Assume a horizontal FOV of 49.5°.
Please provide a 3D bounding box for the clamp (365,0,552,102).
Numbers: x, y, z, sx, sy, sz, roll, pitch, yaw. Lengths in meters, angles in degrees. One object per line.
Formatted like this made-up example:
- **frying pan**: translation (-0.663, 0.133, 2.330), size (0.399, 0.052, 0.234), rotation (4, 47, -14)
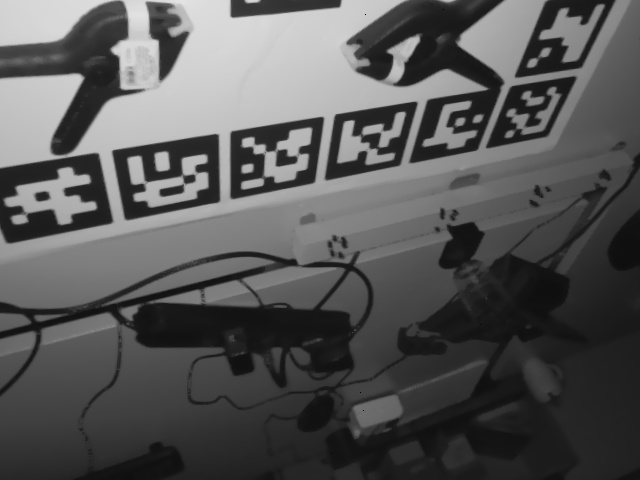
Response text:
- **clamp**: translation (0.143, -0.188, 0.692), size (0.205, 0.037, 0.163), rotation (-14, 146, -16)

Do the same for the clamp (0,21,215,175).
- **clamp**: translation (-0.161, -0.130, 0.576), size (0.165, 0.036, 0.122), rotation (-29, 138, 3)

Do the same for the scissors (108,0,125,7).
- **scissors**: translation (-0.087, -0.238, 0.491), size (0.200, 0.016, 0.088), rotation (-41, 135, 22)
